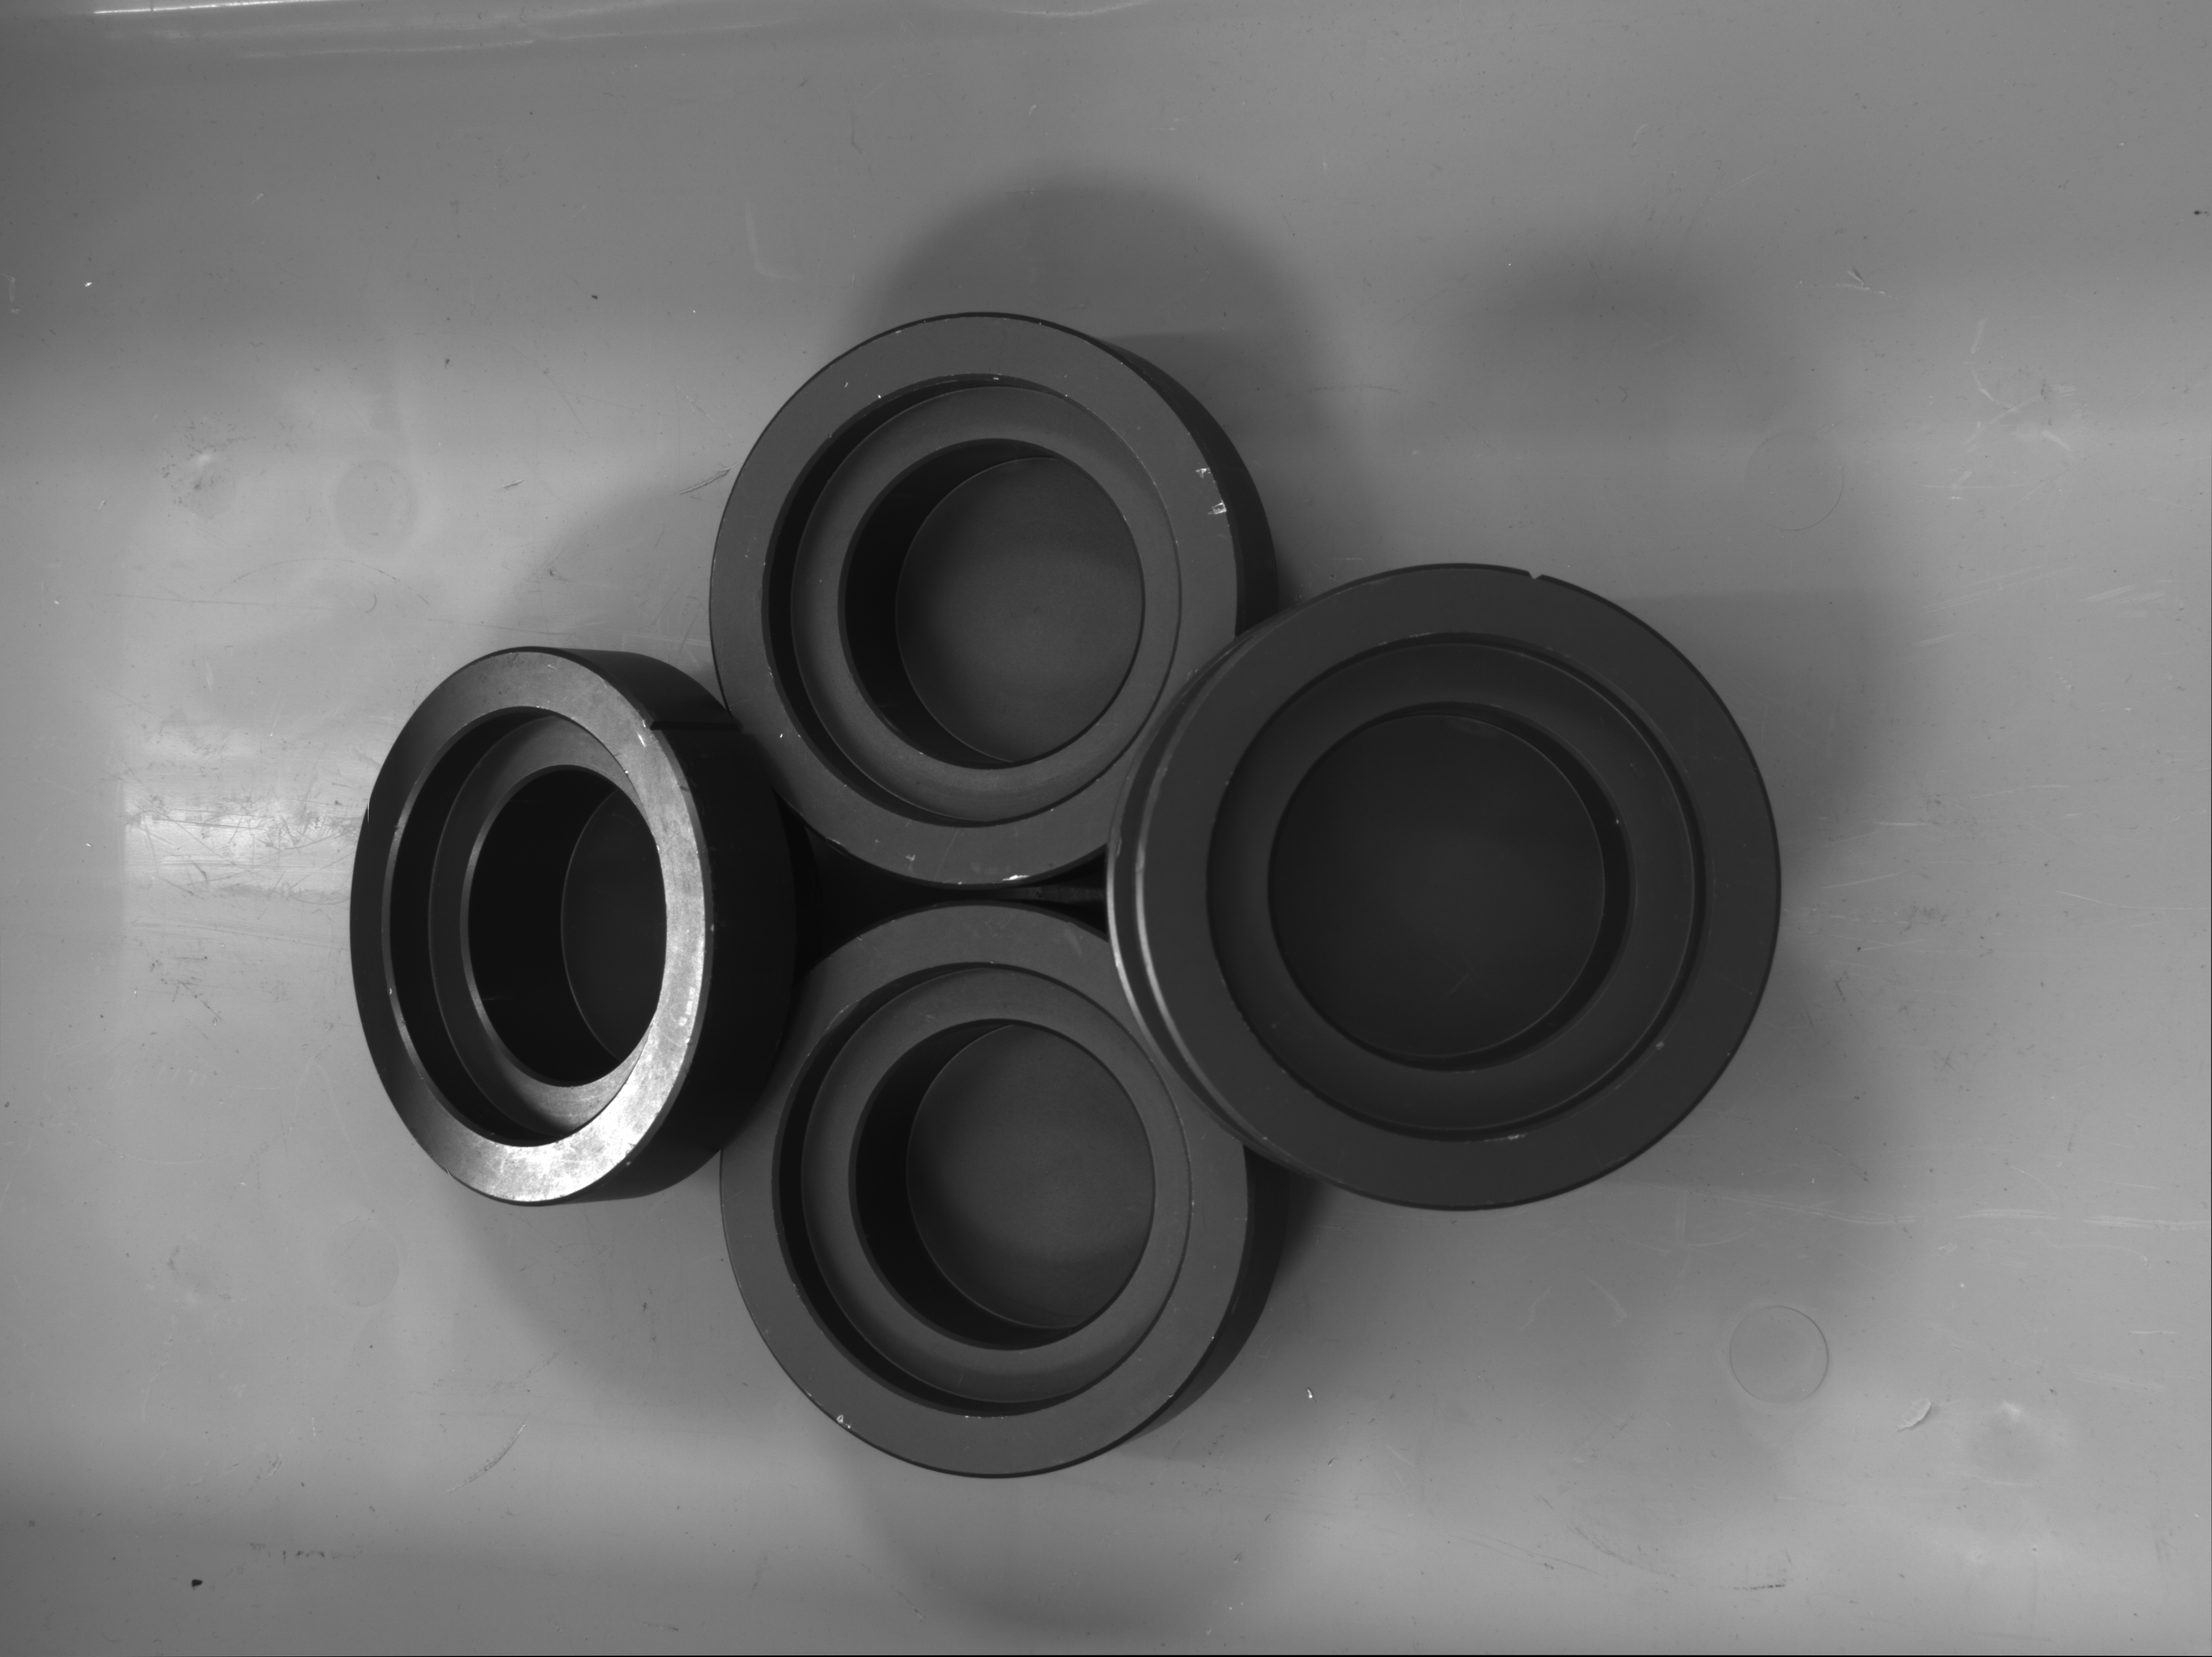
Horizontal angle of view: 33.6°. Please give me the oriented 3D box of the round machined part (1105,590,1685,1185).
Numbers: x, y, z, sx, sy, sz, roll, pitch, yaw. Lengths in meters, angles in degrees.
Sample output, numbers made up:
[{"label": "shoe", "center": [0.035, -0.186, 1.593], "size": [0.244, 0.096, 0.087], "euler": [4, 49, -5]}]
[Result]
[{"label": "round machined part", "center": [0.049, 0.010, 0.607], "size": [0.098, 0.042, 0.098], "euler": [0, 89, -2]}]

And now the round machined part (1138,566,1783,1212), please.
[{"label": "round machined part", "center": [0.053, 0.009, 0.575], "size": [0.098, 0.042, 0.098], "euler": [0, 90, -2]}]

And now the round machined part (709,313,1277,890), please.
[{"label": "round machined part", "center": [-0.016, -0.038, 0.641], "size": [0.098, 0.042, 0.098], "euler": [0, 90, 20]}]

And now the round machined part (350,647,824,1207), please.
[{"label": "round machined part", "center": [-0.089, 0.017, 0.657], "size": [0.098, 0.042, 0.098], "euler": [-1, 89, 41]}]

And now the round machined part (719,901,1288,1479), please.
[{"label": "round machined part", "center": [-0.015, 0.061, 0.640], "size": [0.098, 0.042, 0.098], "euler": [0, 90, 20]}]
